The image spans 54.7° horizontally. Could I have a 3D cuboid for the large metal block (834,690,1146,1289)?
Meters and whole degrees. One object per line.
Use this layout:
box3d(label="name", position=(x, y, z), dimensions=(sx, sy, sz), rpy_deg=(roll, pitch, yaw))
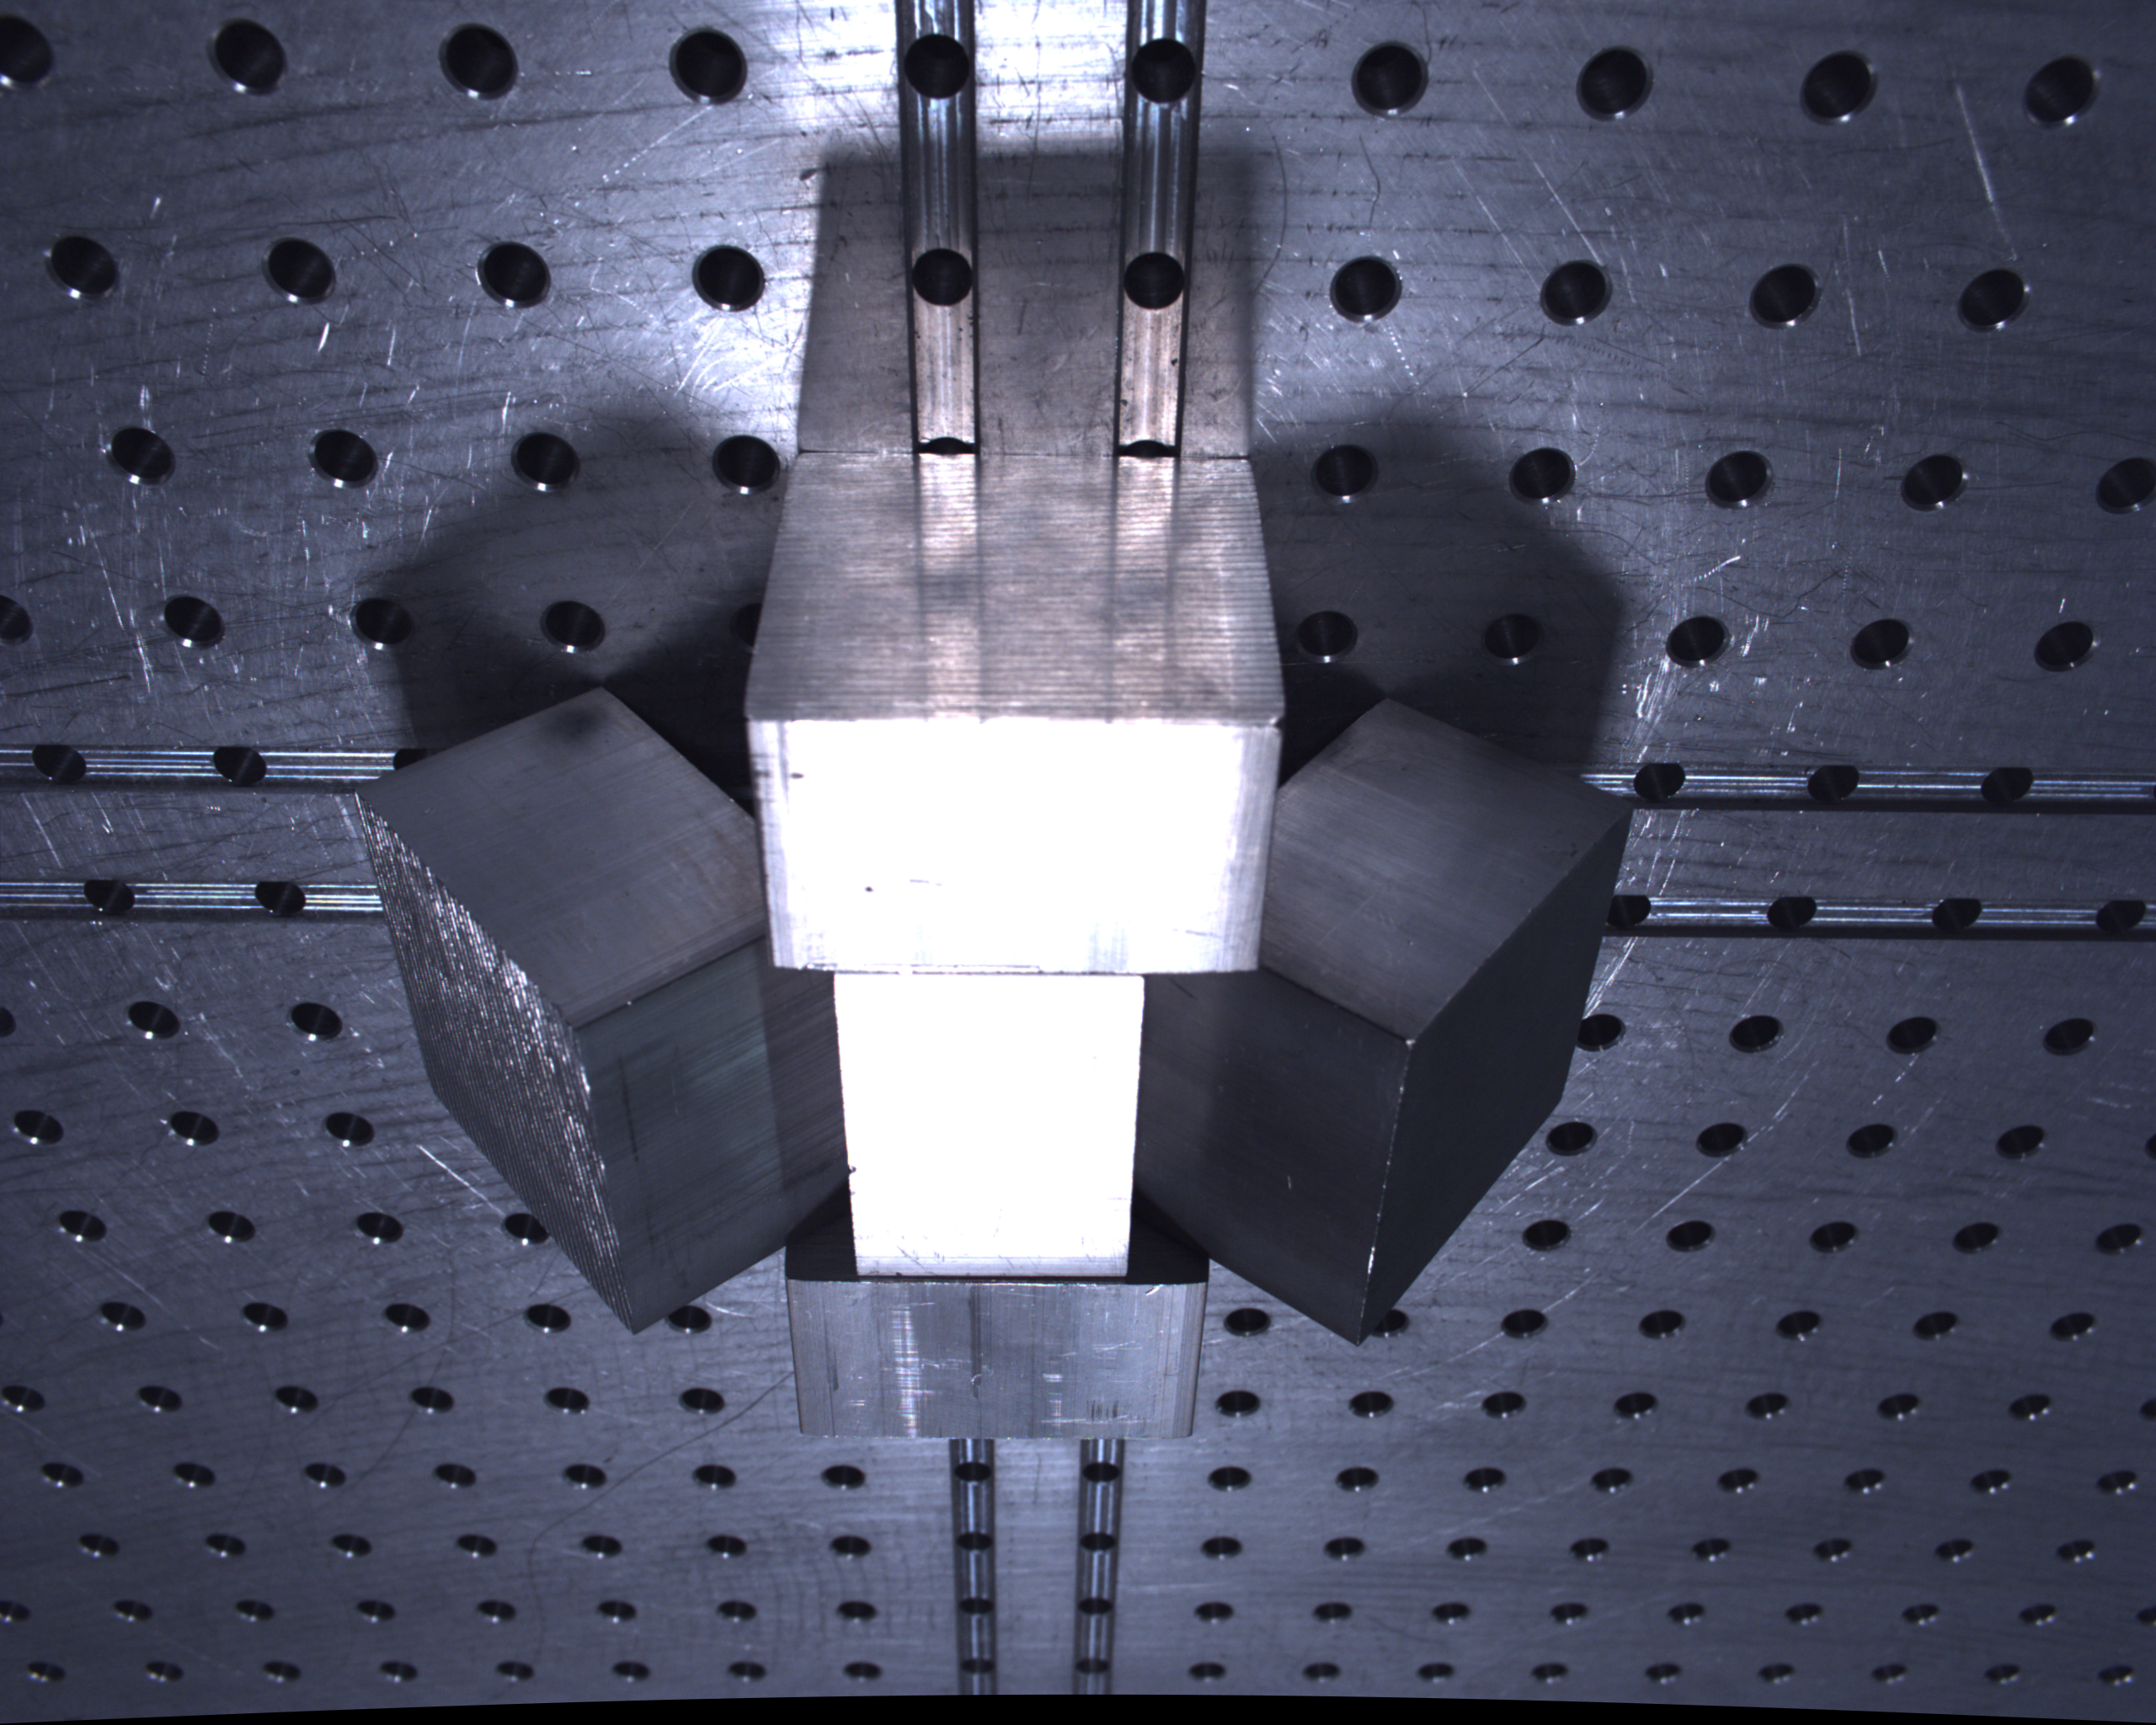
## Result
box3d(label="large metal block", position=(-0.015, 0.023, 0.394), dimensions=(0.050, 0.080, 0.079), rpy_deg=(1, 130, -1))

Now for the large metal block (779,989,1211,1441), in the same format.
box3d(label="large metal block", position=(-0.016, 0.072, 0.435), dimensions=(0.081, 0.080, 0.050), rpy_deg=(1, 130, -1))

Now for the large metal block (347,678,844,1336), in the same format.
box3d(label="large metal block", position=(-0.086, 0.025, 0.388), dimensions=(0.050, 0.080, 0.079), rpy_deg=(-28, 139, -30))

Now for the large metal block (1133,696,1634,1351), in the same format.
box3d(label="large metal block", position=(0.055, 0.028, 0.389), dimensions=(0.050, 0.080, 0.079), rpy_deg=(27, 136, 27))

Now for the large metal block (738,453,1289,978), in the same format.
box3d(label="large metal block", position=(-0.010, -0.027, 0.351), dimensions=(0.081, 0.080, 0.050), rpy_deg=(1, 130, -1))
